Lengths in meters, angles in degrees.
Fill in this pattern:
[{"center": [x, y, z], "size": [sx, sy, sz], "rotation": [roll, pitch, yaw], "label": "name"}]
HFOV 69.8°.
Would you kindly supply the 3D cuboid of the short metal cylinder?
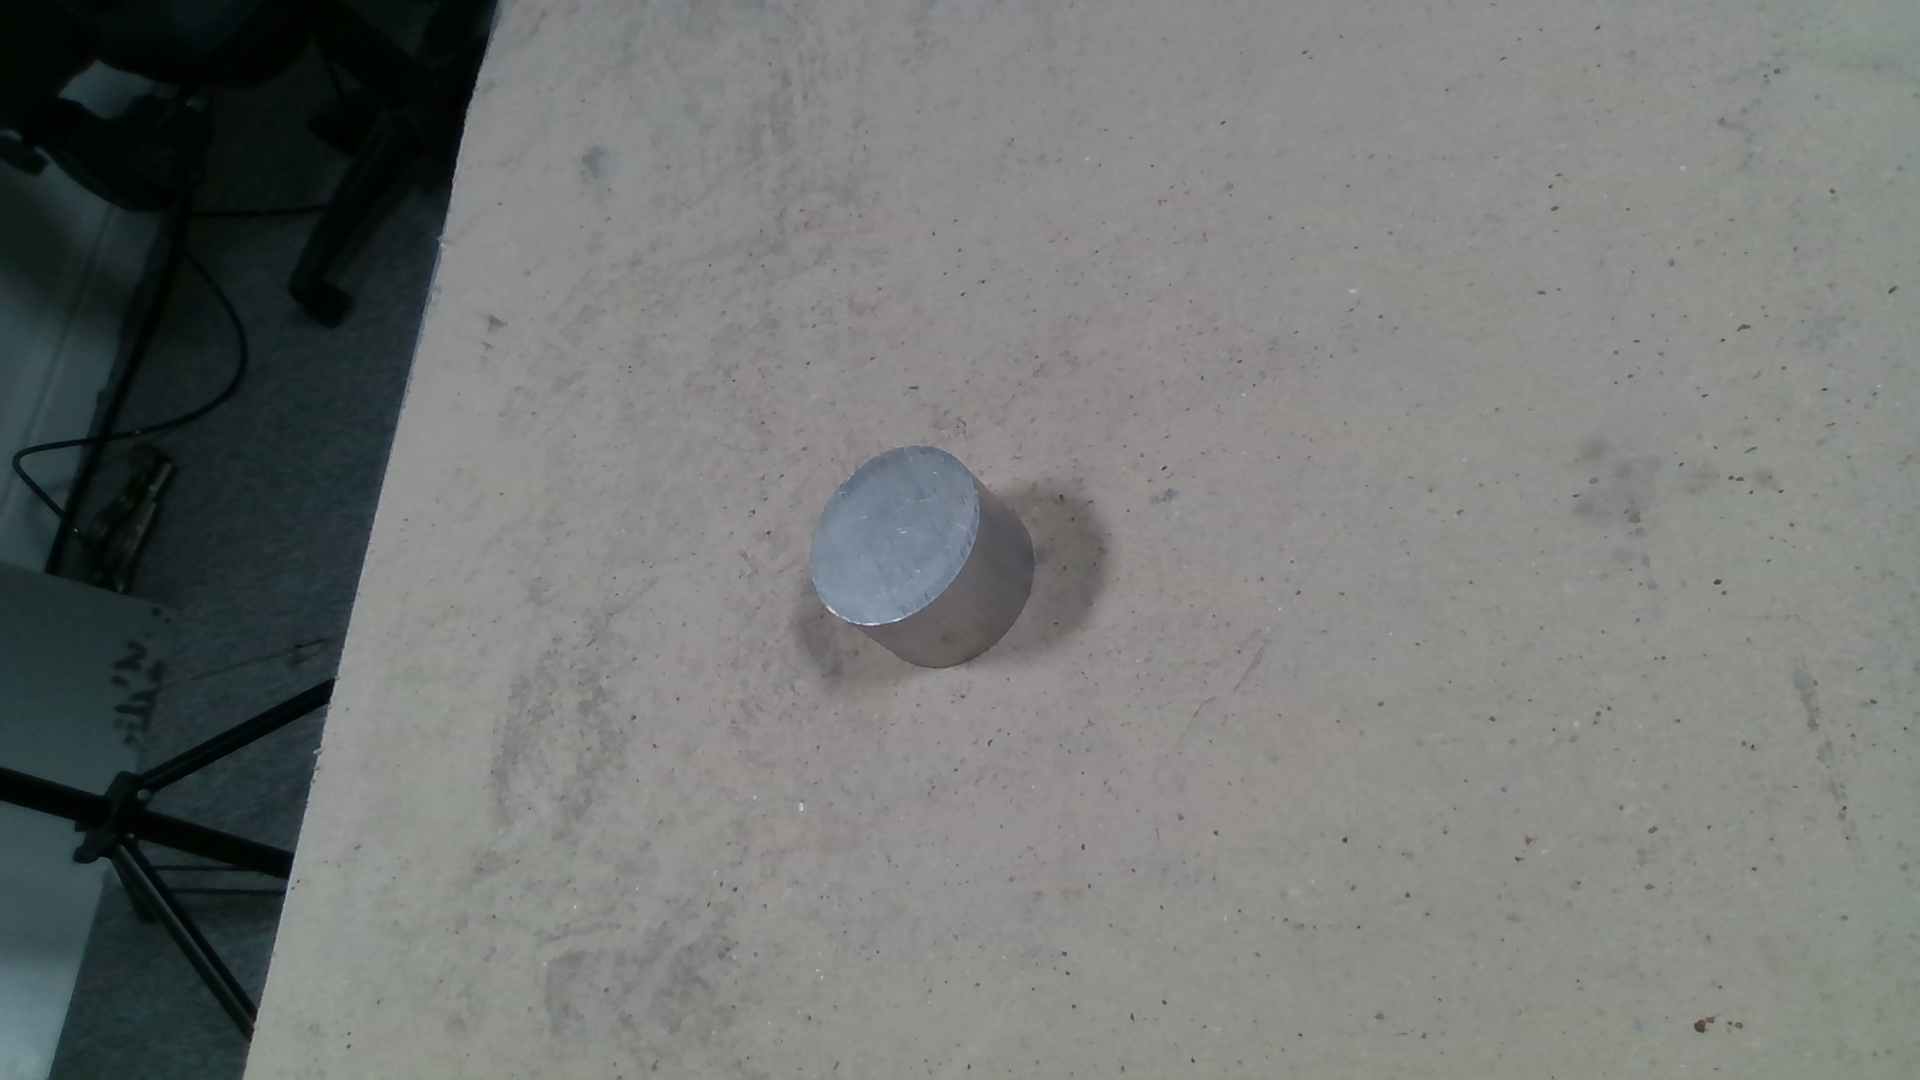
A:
[{"center": [-0.016, 0.007, 0.575], "size": [0.080, 0.050, 0.080], "rotation": [-14, 59, 25], "label": "short metal cylinder"}]
